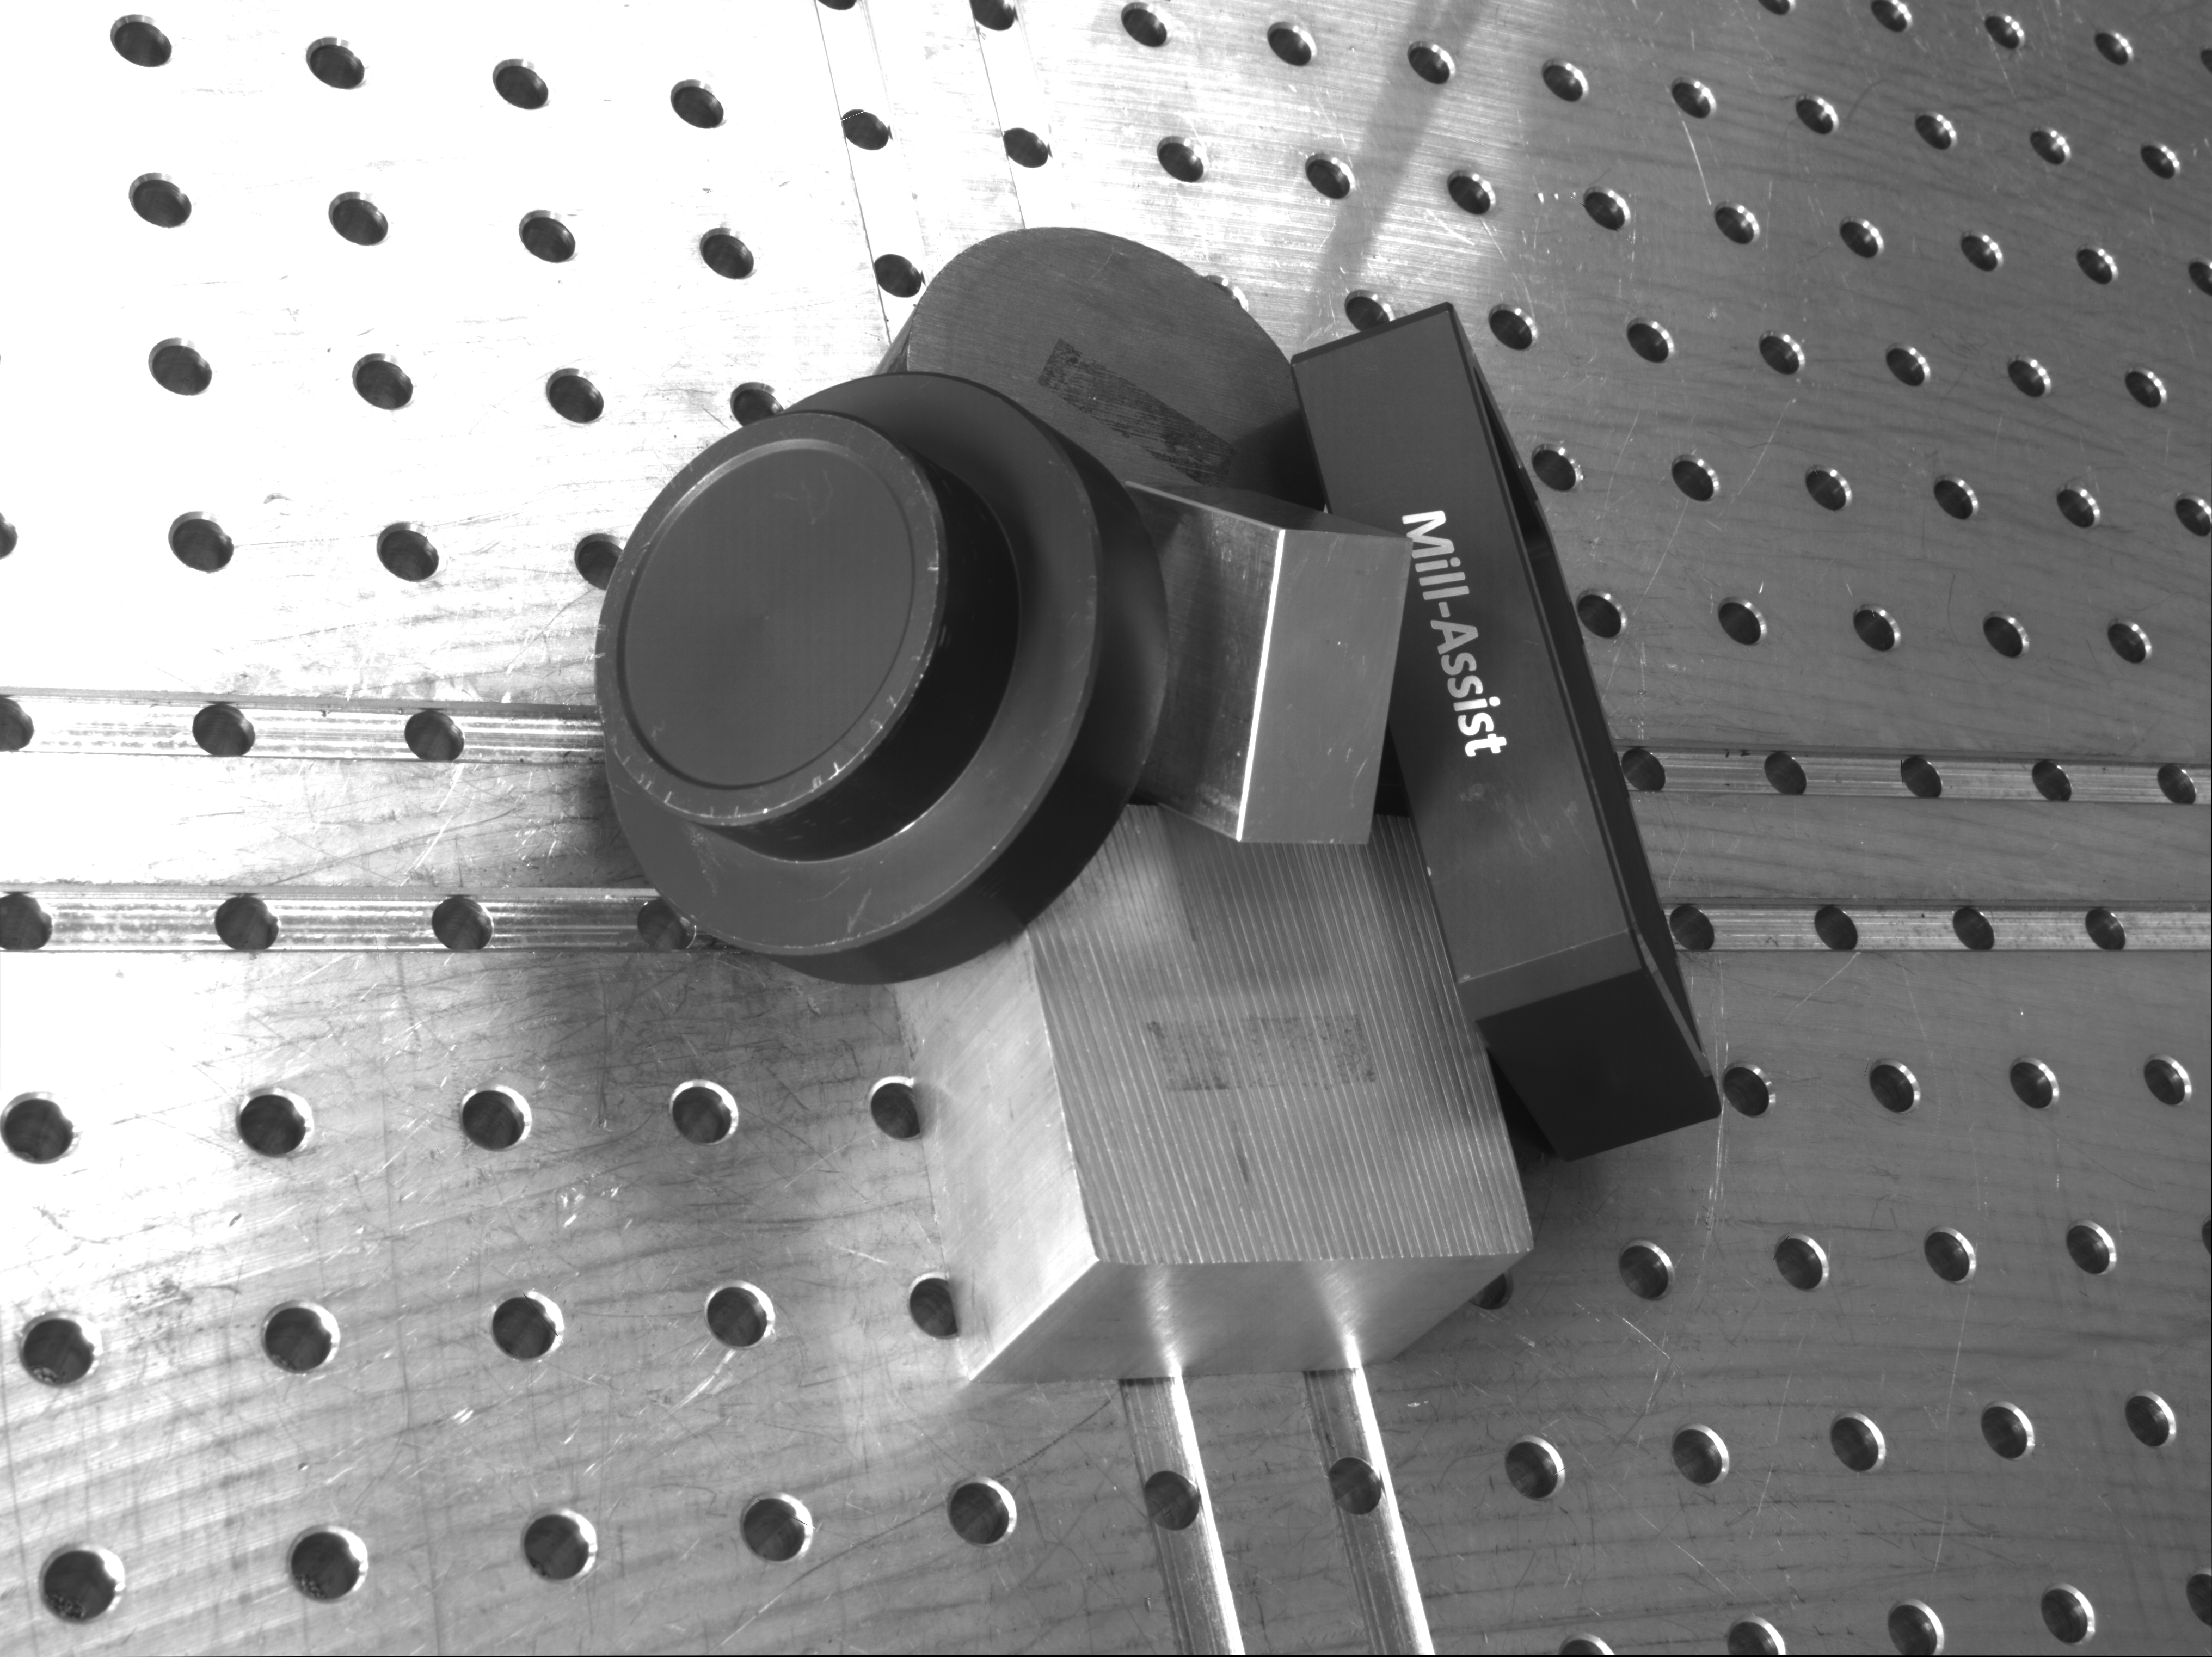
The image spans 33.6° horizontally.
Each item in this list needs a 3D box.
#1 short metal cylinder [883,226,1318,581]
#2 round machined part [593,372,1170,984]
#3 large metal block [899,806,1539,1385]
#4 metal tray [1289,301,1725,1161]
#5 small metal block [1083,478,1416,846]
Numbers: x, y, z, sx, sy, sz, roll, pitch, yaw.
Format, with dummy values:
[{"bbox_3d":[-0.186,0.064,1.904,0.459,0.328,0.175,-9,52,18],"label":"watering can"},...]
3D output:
[{"bbox_3d":[-0.007,-0.060,0.657,0.080,0.050,0.080,14,56,-21],"label":"short metal cylinder"},{"bbox_3d":[-0.042,-0.027,0.584,0.042,0.098,0.098,29,43,-54],"label":"round machined part"},{"bbox_3d":[0.016,0.044,0.607,0.080,0.050,0.080,2,61,-27],"label":"large metal block"},{"bbox_3d":[0.071,-0.016,0.650,0.030,0.090,0.130,-19,64,11],"label":"metal tray"},{"bbox_3d":[0.023,-0.028,0.600,0.025,0.050,0.050,2,103,-31],"label":"small metal block"}]
